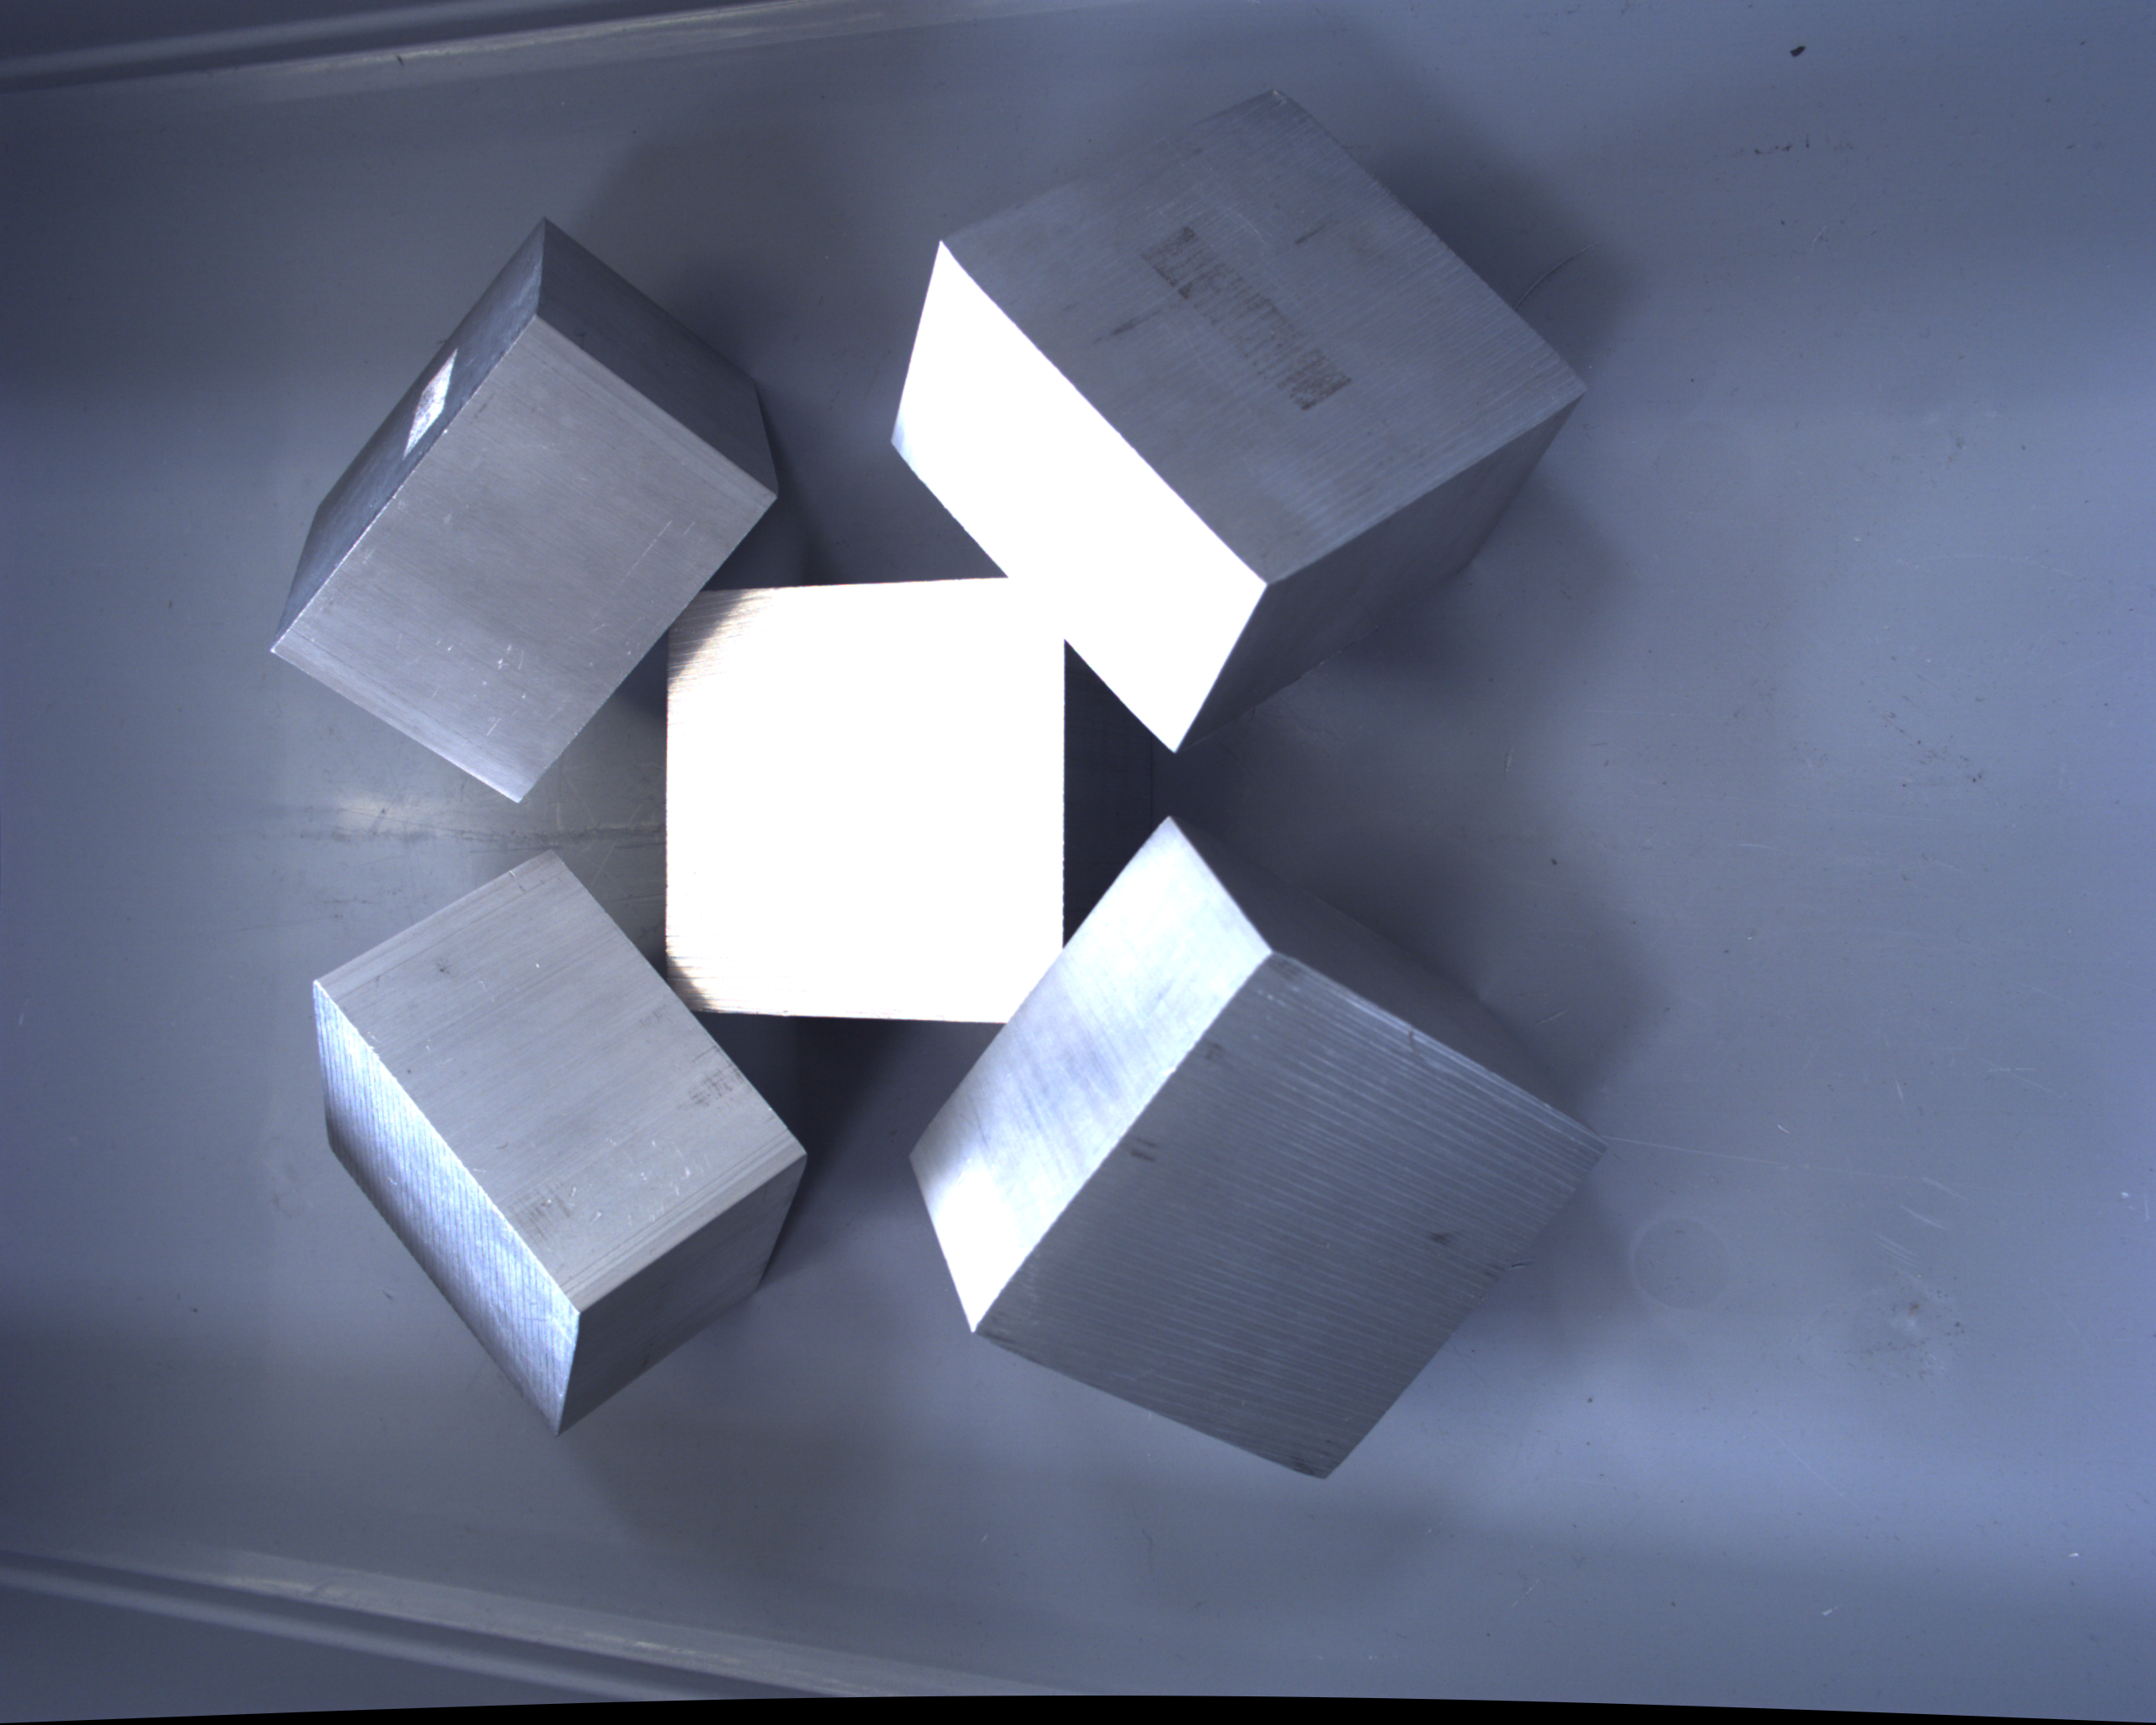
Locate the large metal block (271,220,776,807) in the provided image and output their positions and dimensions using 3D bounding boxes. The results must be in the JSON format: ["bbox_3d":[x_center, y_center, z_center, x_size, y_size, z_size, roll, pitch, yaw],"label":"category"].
[{"bbox_3d":[-0.108,-0.071,0.409,0.050,0.080,0.080,35,105,-28],"label":"large metal block"}]

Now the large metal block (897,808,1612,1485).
[{"bbox_3d":[0.029,0.050,0.362,0.080,0.050,0.080,30,103,-29],"label":"large metal block"}]

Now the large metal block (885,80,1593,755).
[{"bbox_3d":[0.026,-0.079,0.364,0.080,0.050,0.080,-34,74,-28],"label":"large metal block"}]

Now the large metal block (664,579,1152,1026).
[{"bbox_3d":[-0.032,-0.012,0.406,0.080,0.050,0.080,1,90,20],"label":"large metal block"}]

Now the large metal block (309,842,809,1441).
[{"bbox_3d":[-0.103,0.056,0.410,0.080,0.050,0.080,48,149,13],"label":"large metal block"}]
